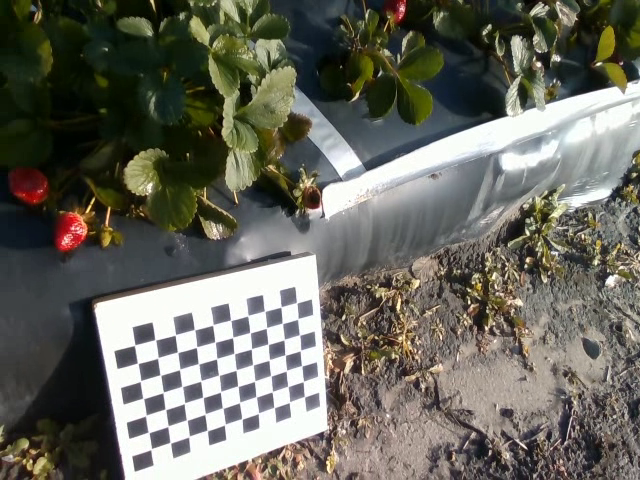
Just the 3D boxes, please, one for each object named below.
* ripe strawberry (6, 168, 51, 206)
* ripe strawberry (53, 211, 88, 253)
[{"bbox_3d":[-0.337,-0.064,0.682,0.039,0.048,0.054,12,4,36],"label":"ripe strawberry"},{"bbox_3d":[-0.292,-0.010,0.677,0.038,0.053,0.043,-30,-55,33],"label":"ripe strawberry"}]
